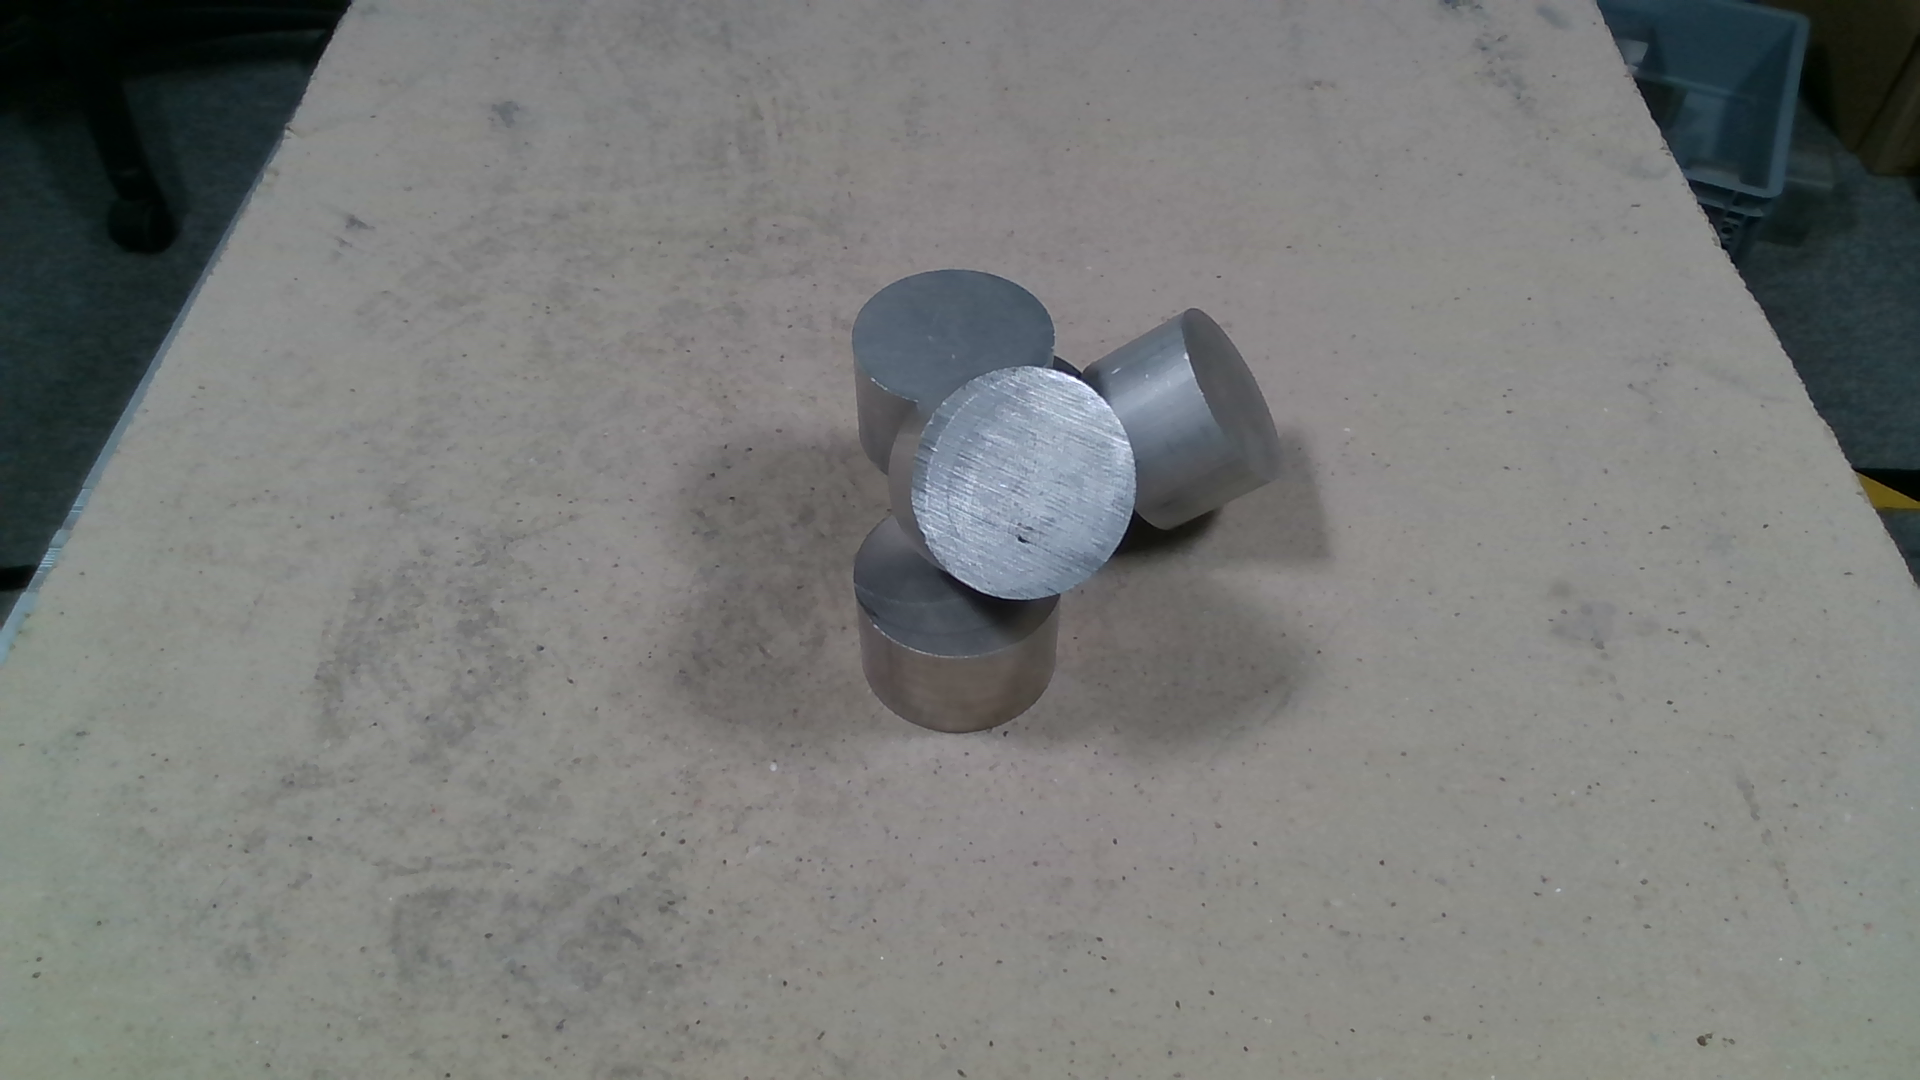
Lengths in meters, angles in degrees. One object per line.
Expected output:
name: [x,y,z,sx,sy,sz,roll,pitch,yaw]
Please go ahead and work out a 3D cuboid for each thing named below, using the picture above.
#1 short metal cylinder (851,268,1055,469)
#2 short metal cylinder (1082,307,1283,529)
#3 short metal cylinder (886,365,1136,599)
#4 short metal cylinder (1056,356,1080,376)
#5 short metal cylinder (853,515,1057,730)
short metal cylinder: [-0.003,-0.065,0.559,0.080,0.050,0.080,0,50,0]
short metal cylinder: [0.095,-0.051,0.586,0.050,0.080,0.080,-27,43,29]
short metal cylinder: [0.017,-0.022,0.495,0.080,0.080,0.050,-13,9,-11]
short metal cylinder: [0.019,-0.041,0.605,0.080,0.050,0.080,0,50,0]
short metal cylinder: [-0.001,0.028,0.547,0.080,0.050,0.080,0,50,0]
